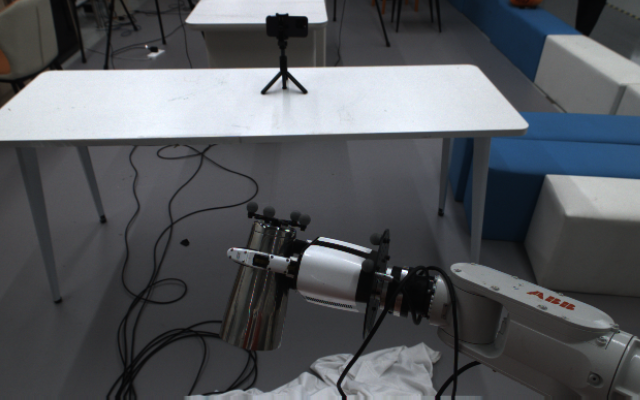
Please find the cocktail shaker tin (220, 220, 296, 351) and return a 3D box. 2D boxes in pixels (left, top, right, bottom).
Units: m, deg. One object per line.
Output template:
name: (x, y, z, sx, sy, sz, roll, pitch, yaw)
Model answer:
cocktail shaker tin: (-0.081, 0.119, 0.708, 0.093, 0.170, 0.093, 13, 1, 0)
